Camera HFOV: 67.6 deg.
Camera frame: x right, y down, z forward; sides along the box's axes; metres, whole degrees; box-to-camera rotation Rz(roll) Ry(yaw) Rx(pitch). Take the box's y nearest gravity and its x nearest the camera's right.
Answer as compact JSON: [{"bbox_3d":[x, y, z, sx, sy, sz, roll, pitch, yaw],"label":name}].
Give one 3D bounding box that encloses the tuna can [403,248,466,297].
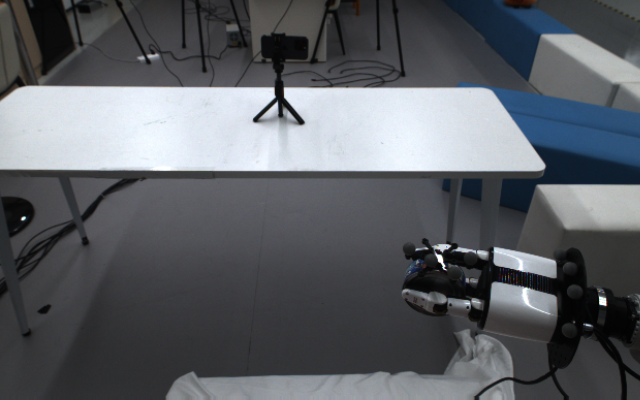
[{"bbox_3d":[0.161,0.116,0.673,0.085,0.085,0.034,10,34,11],"label":"tuna can"}]
